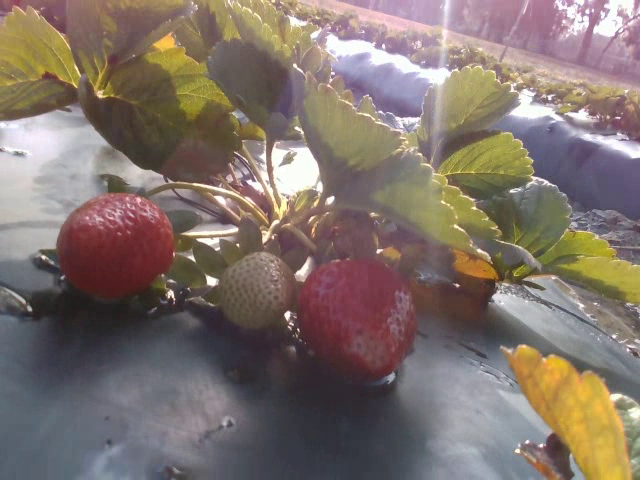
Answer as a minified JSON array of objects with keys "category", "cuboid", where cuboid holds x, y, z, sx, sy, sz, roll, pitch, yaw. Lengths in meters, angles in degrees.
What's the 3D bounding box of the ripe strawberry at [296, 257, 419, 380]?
[{"category":"ripe strawberry","cuboid":[0.014,0.029,0.211,0.048,0.050,0.065,-24,27,8]}]
